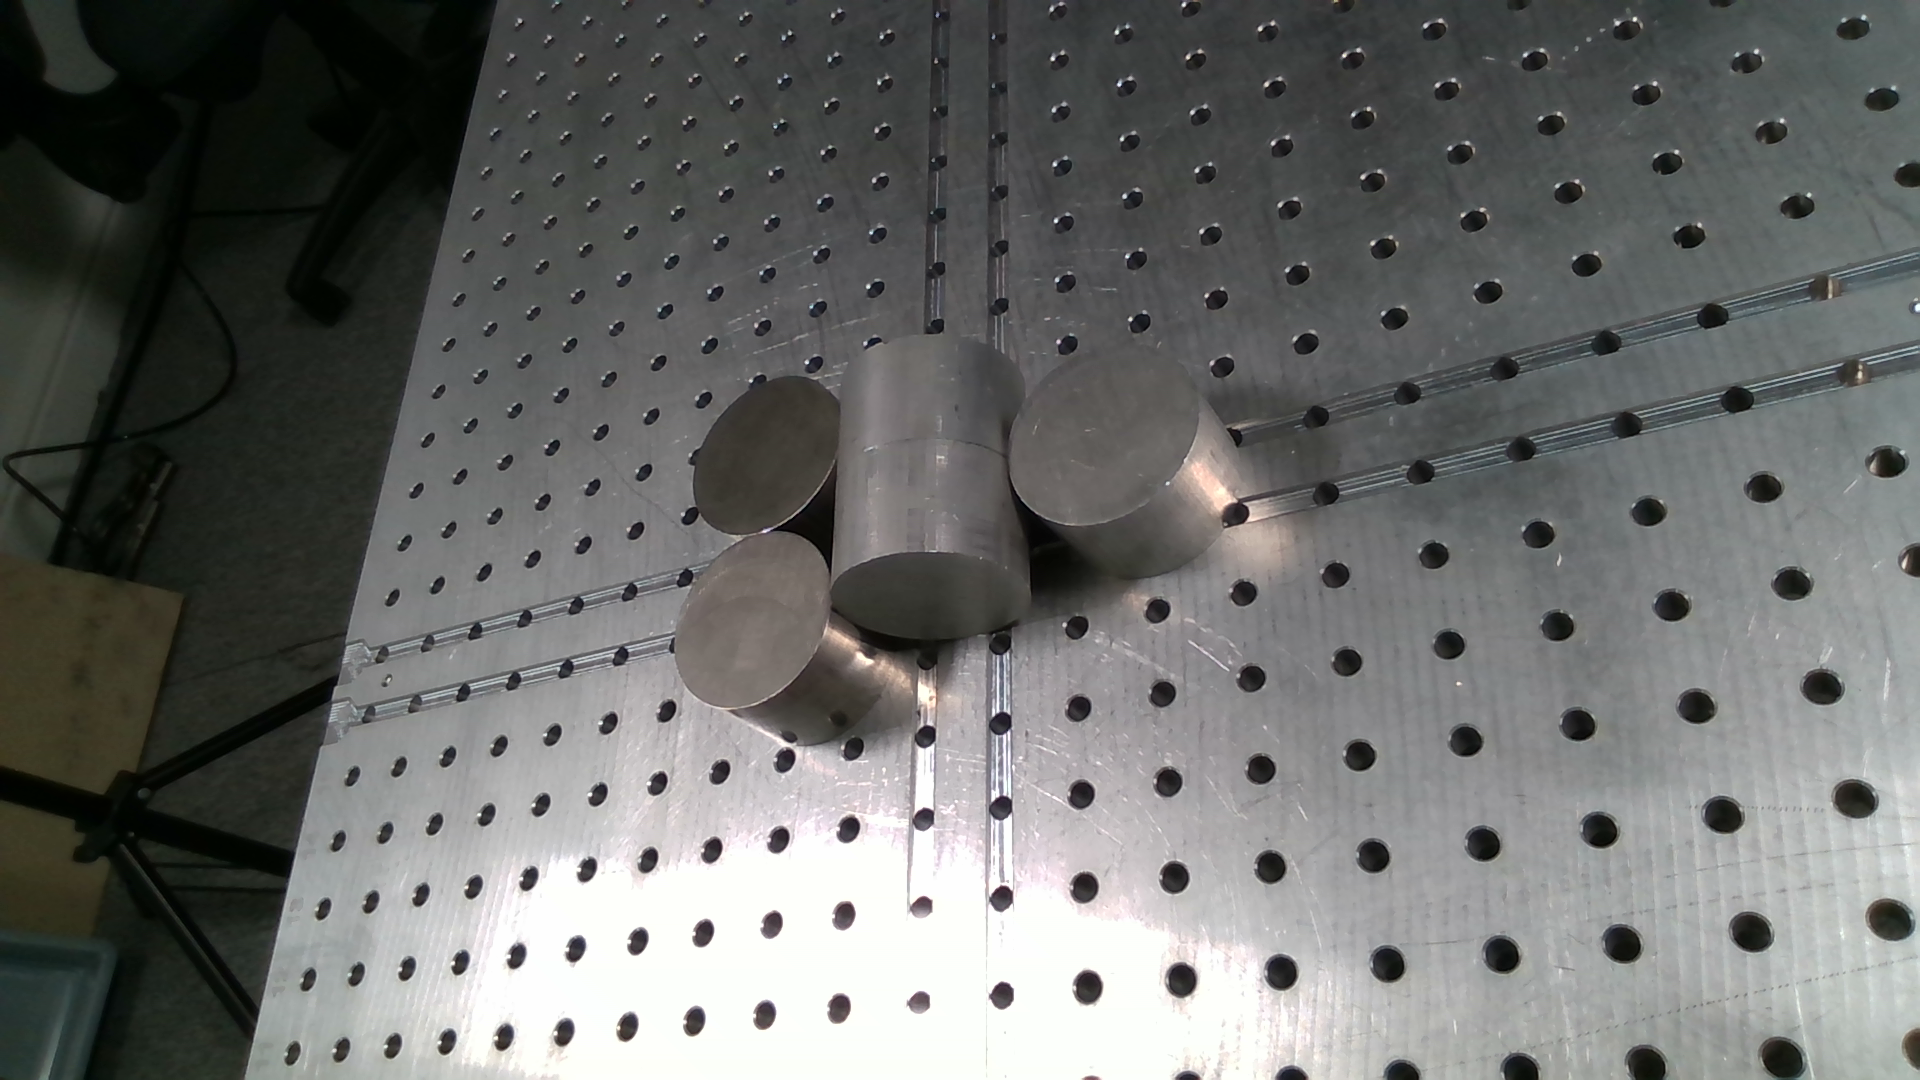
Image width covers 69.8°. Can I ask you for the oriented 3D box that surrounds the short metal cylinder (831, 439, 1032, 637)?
[{"bbox_3d":[-0.011,0.001,0.560,0.080,0.080,0.050,-14,59,25],"label":"short metal cylinder"}]

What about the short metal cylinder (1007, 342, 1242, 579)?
[{"bbox_3d":[0.066,-0.031,0.548,0.080,0.050,0.080,-14,59,25],"label":"short metal cylinder"}]

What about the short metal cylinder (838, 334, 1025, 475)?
[{"bbox_3d":[-0.012,-0.043,0.583,0.080,0.080,0.050,-14,59,25],"label":"short metal cylinder"}]

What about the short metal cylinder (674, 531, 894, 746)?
[{"bbox_3d":[-0.076,0.043,0.594,0.080,0.050,0.080,-14,59,25],"label":"short metal cylinder"}]

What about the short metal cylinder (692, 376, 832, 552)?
[{"bbox_3d":[-0.075,-0.028,0.632,0.080,0.050,0.080,-14,59,25],"label":"short metal cylinder"}]
